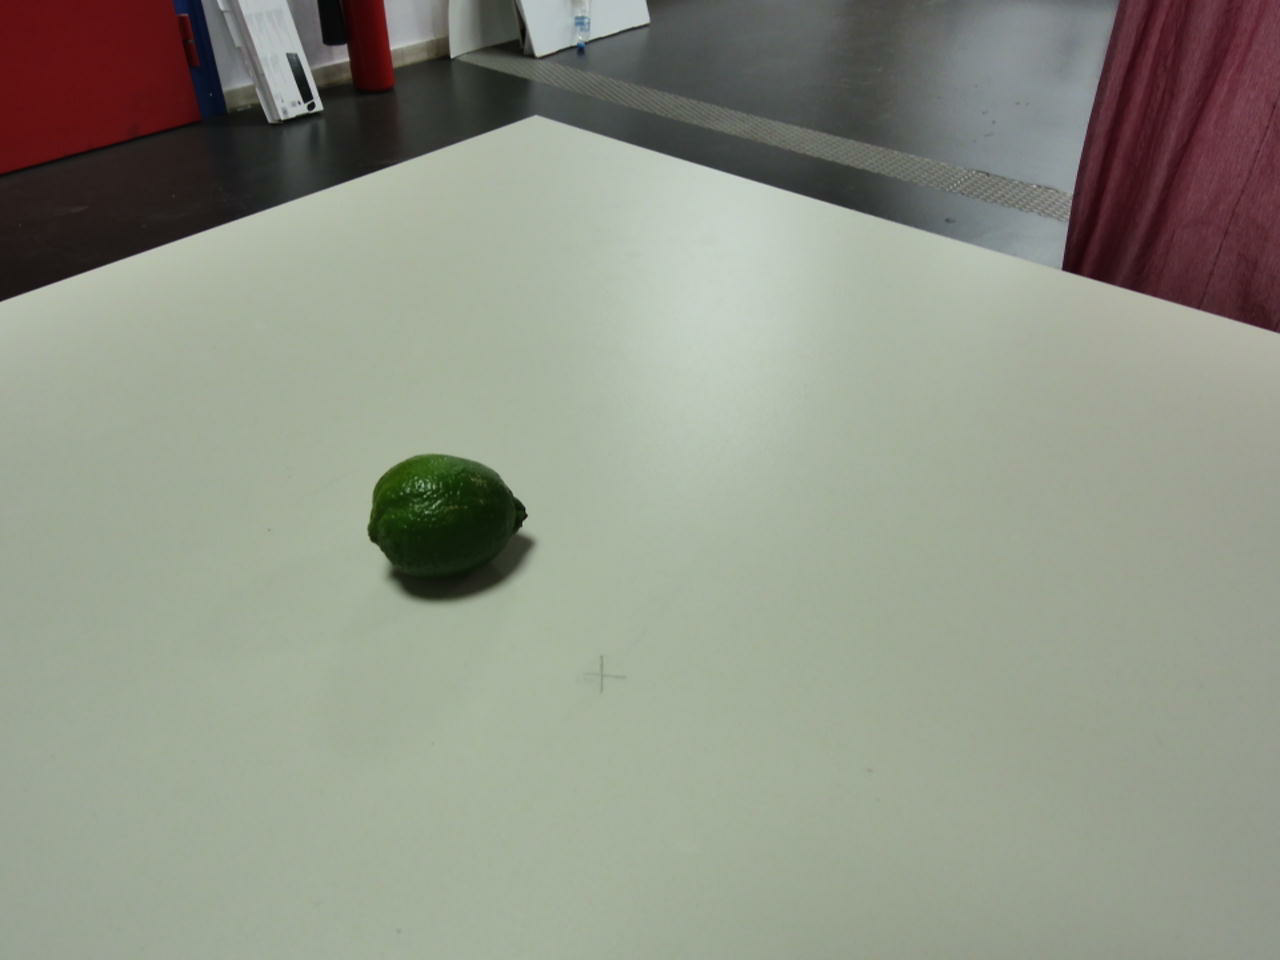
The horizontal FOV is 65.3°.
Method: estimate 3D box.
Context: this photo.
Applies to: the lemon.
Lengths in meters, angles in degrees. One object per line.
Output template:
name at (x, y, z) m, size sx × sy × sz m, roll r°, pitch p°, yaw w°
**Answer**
lemon at (-0.081, 0.013, 0.406) m, size 0.054 × 0.051 × 0.057 m, roll 22°, pitch 40°, yaw 27°
